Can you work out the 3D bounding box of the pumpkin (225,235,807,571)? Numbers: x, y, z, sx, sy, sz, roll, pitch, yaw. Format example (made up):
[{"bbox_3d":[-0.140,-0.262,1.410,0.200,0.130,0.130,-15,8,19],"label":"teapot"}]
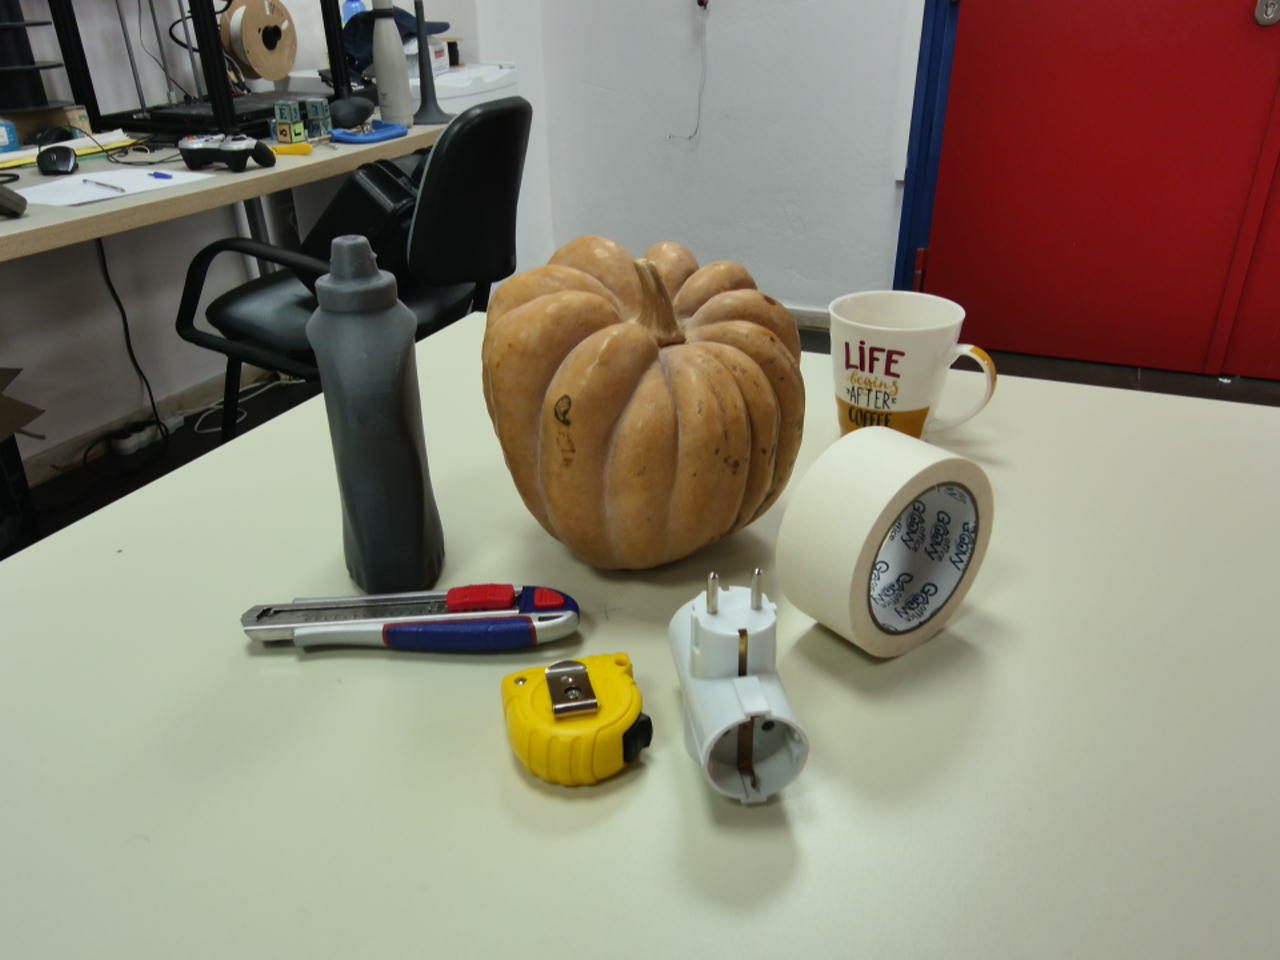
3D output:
[{"bbox_3d":[0.001,-0.045,0.583,0.199,0.177,0.198,0,25,0],"label":"pumpkin"}]
